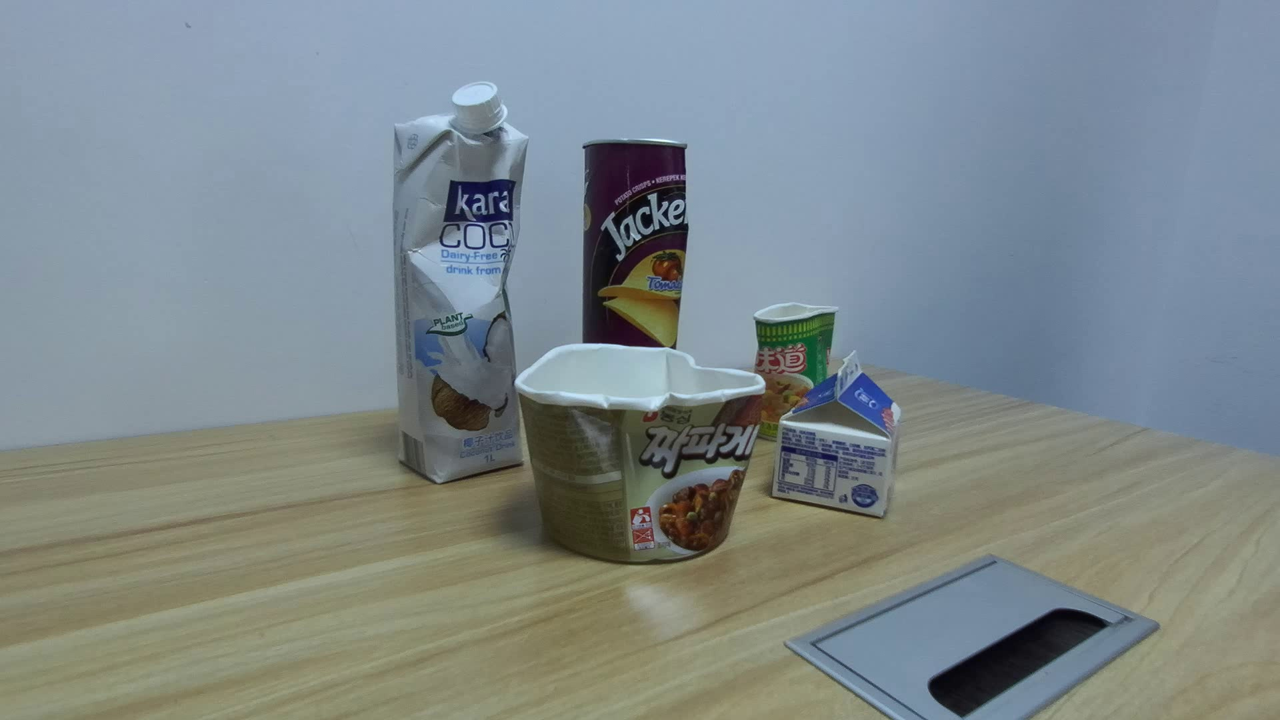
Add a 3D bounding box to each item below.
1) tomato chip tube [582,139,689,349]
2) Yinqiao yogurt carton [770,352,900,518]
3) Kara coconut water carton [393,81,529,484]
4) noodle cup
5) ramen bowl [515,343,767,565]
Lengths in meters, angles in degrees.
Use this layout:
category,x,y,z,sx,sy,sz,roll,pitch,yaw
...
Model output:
category,x,y,z,sx,sy,sz,roll,pitch,yaw
tomato chip tube,-0.008,-0.055,0.579,0.076,0.235,0.077,-1,9,-13
Yinqiao yogurt carton,0.133,0.044,0.468,0.073,0.092,0.076,7,12,23
Kara coconut water carton,-0.122,-0.050,0.476,0.083,0.255,0.078,-4,15,-30
noodle cup,0.127,0.008,0.596,0.115,0.111,0.070,-7,15,-38
ramen bowl,-0.008,0.048,0.401,0.134,0.097,0.113,-3,14,-32
